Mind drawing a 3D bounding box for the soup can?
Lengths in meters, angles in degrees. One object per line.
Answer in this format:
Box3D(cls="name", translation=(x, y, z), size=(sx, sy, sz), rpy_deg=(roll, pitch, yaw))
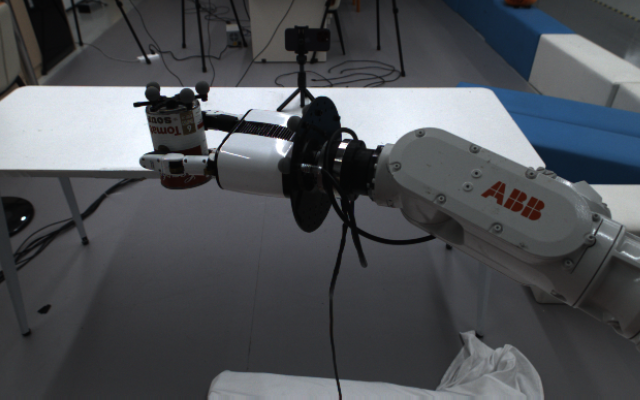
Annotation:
Box3D(cls="soup can", translation=(-0.178, -0.072, 0.621), size=(0.067, 0.101, 0.067), rpy_deg=(-3, 26, 2))
